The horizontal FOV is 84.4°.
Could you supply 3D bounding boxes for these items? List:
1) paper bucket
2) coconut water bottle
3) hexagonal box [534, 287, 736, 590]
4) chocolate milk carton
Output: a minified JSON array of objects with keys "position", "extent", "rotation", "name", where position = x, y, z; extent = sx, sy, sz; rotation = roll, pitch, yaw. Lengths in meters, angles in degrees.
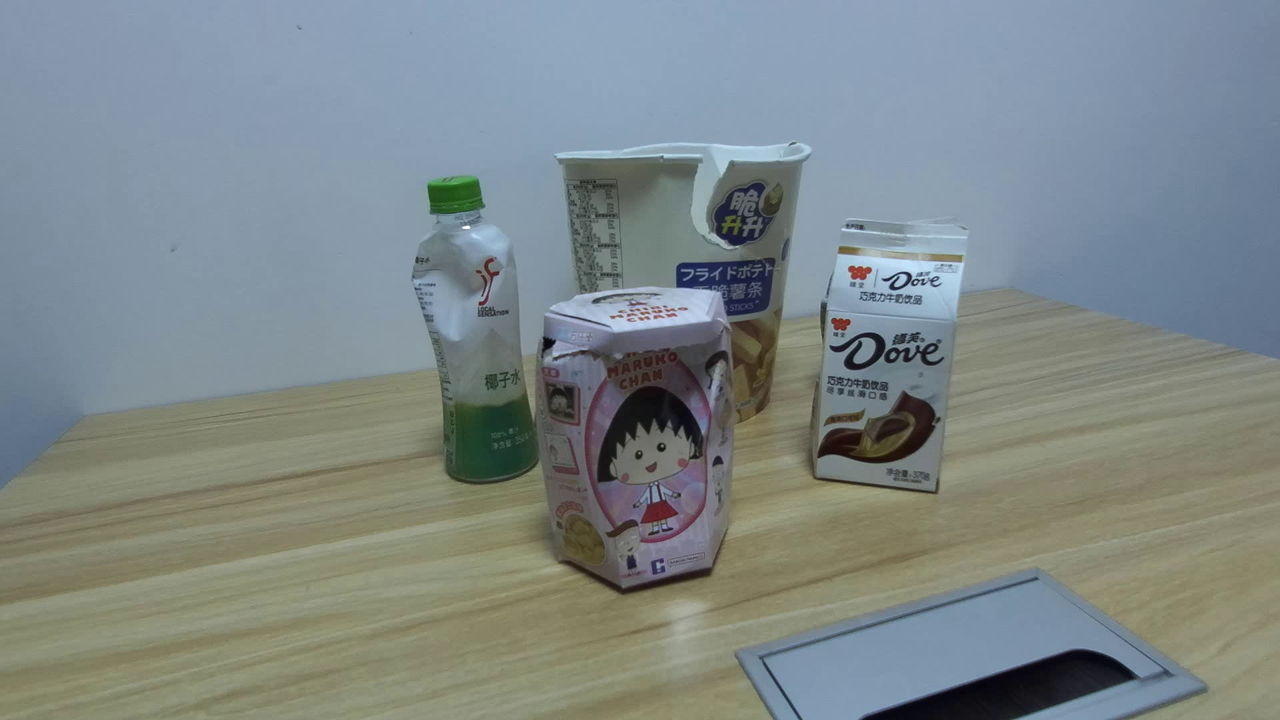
[{"position":[0.030,-0.062,0.538],"extent":[0.202,0.197,0.146],"rotation":[10,24,32],"name":"paper bucket"},{"position":[-0.104,-0.019,0.449],"extent":[0.069,0.187,0.069],"rotation":[-2,18,1],"name":"coconut water bottle"},{"position":[-0.002,0.036,0.362],"extent":[0.091,0.134,0.090],"rotation":[5,18,23],"name":"hexagonal box"},{"position":[0.147,-0.007,0.431],"extent":[0.084,0.155,0.073],"rotation":[4,20,17],"name":"chocolate milk carton"}]
